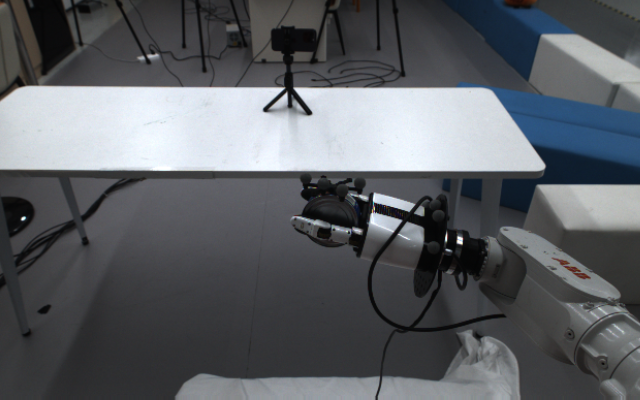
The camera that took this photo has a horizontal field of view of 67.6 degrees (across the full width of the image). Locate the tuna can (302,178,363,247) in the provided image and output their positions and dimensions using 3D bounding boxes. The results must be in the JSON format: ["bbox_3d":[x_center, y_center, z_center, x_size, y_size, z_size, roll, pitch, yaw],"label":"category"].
[{"bbox_3d":[0.018,0.025,0.723,0.085,0.085,0.034,9,23,10],"label":"tuna can"}]
